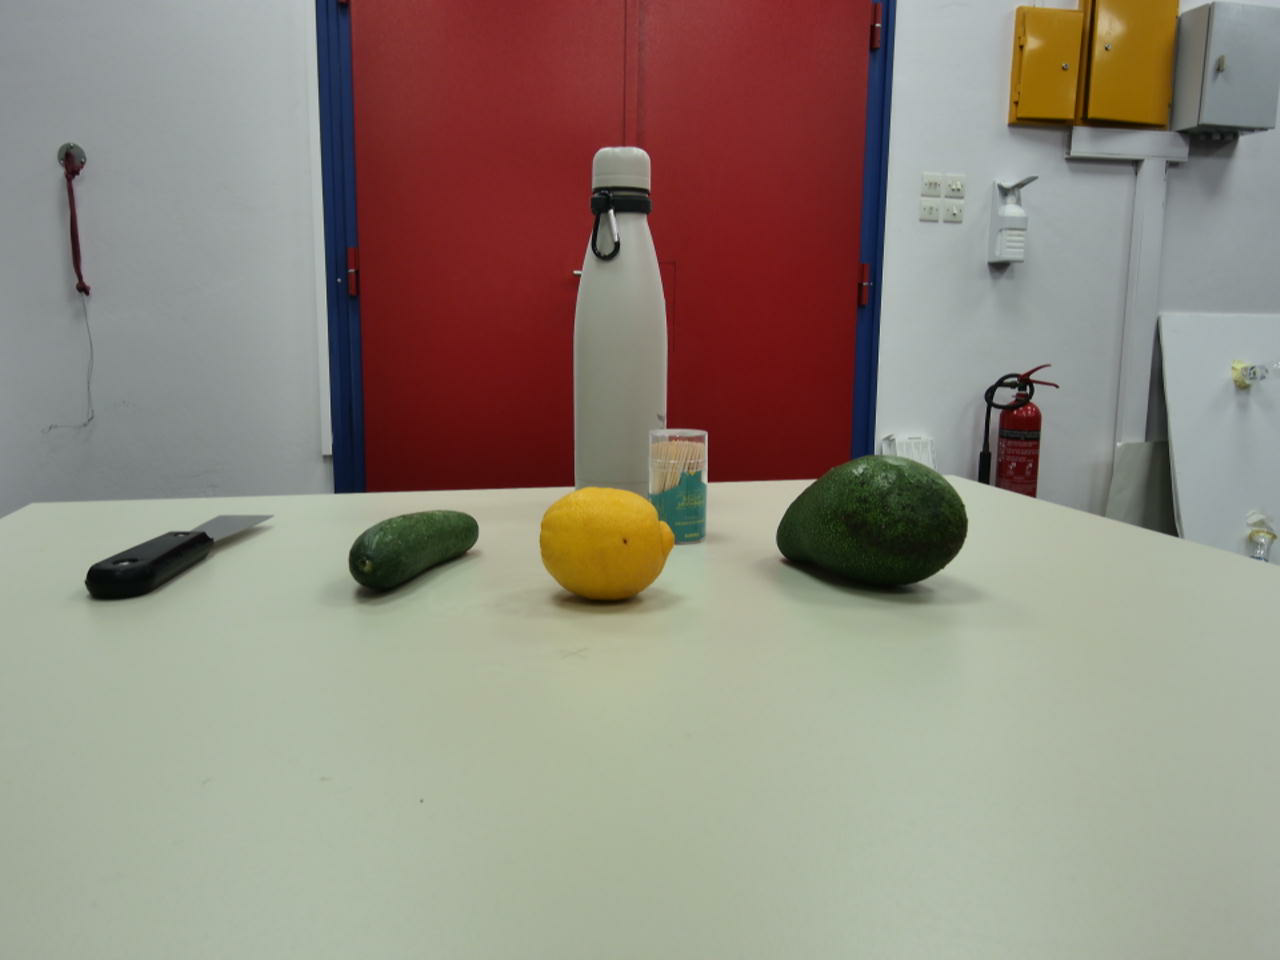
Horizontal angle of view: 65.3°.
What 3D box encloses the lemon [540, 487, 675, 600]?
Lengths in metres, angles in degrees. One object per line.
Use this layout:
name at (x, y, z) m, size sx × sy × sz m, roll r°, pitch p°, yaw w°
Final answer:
lemon at (-0.019, 0.034, 0.530) m, size 0.067 × 0.059 × 0.060 m, roll 4°, pitch 8°, yaw 29°
